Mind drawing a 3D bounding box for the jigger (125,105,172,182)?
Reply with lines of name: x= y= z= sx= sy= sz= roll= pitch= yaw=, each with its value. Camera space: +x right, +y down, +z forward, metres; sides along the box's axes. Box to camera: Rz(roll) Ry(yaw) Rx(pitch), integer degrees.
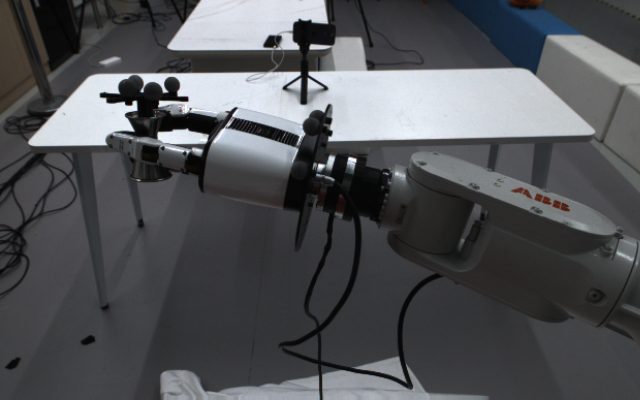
jigger: x=-0.182 y=-0.058 z=0.519 sx=0.043 sy=0.071 sz=0.043 roll=2 pitch=20 yaw=-1
